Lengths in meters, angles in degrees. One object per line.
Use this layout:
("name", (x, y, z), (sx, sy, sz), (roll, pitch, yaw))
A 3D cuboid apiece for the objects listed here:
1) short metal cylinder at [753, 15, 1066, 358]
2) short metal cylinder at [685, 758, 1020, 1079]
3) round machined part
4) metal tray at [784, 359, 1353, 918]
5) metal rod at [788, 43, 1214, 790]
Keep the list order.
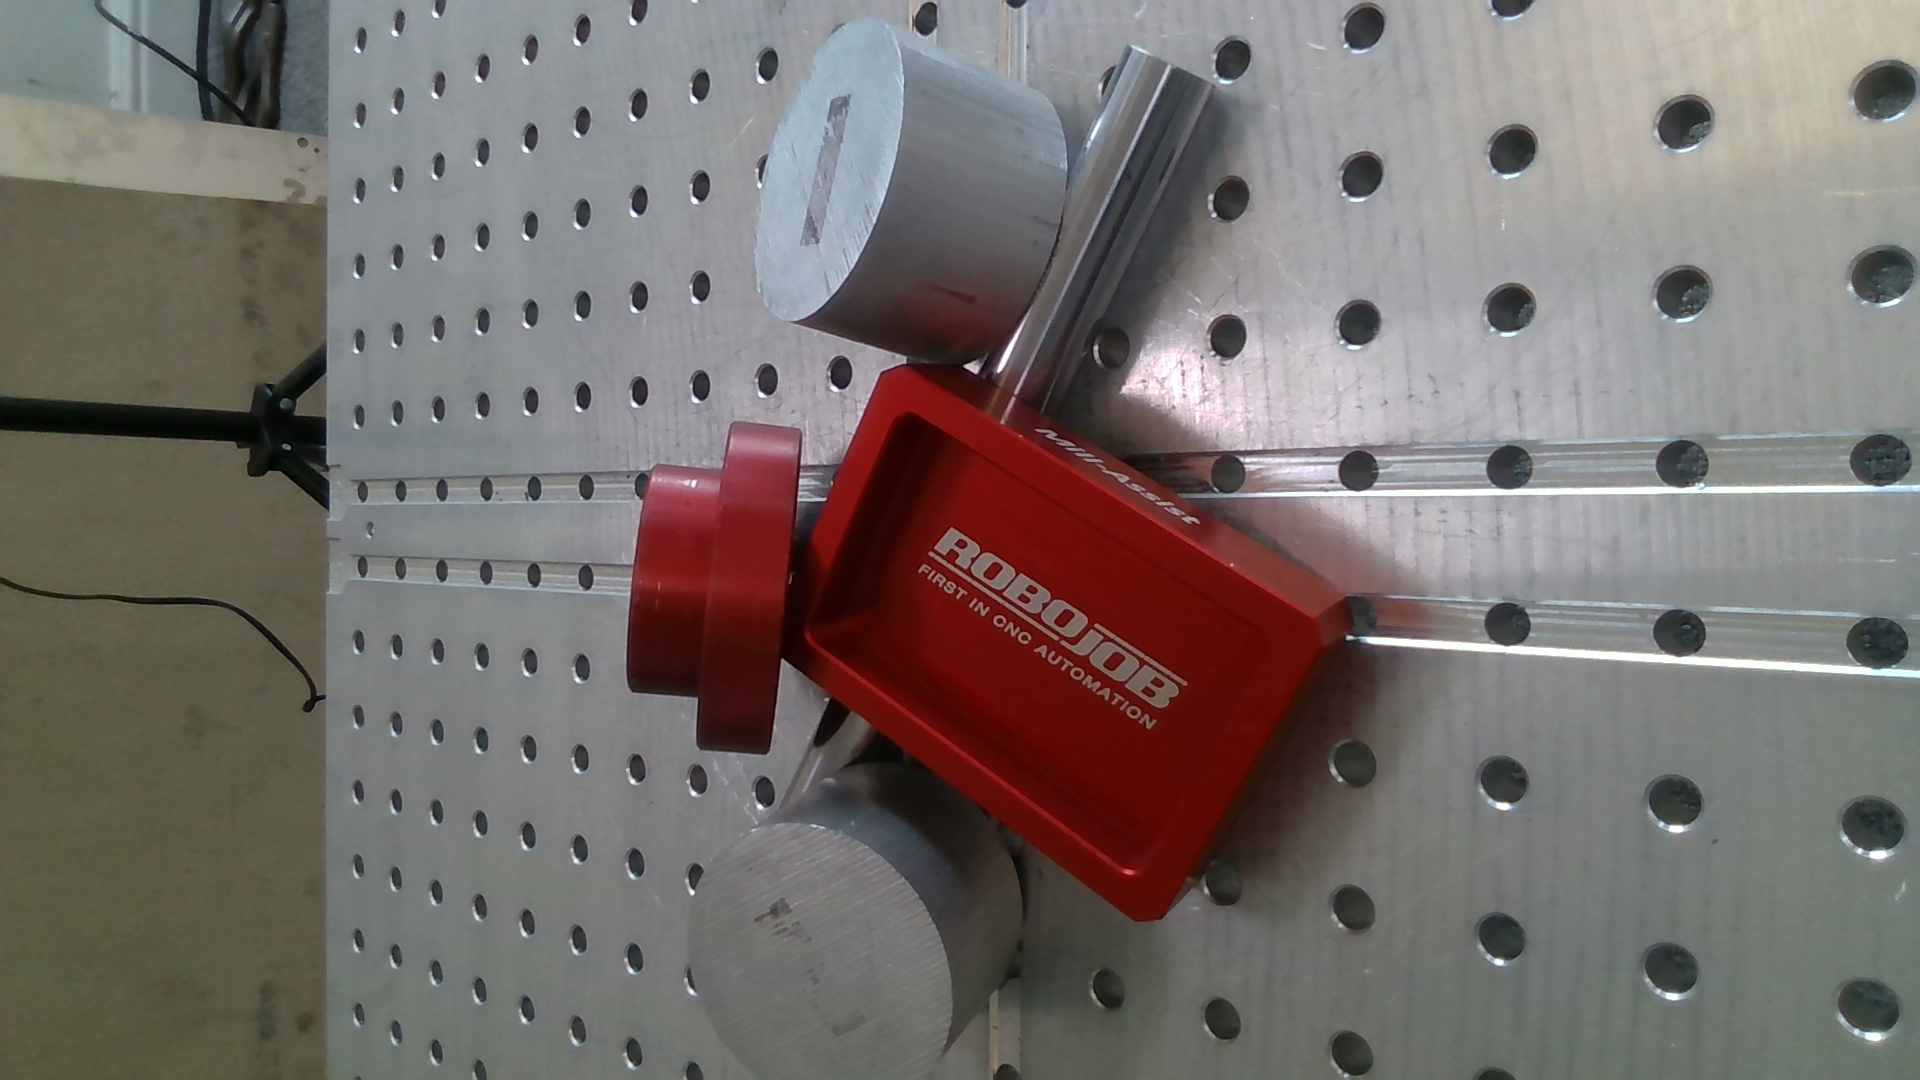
("short metal cylinder", (-0.016, -0.093, 0.375), (0.080, 0.050, 0.080), (-23, 61, 52))
("short metal cylinder", (-0.029, 0.108, 0.388), (0.080, 0.050, 0.080), (5, 103, 22))
("round machined part", (-0.074, 0.012, 0.410), (0.098, 0.042, 0.098), (-176, 92, -83))
("metal tray", (0.021, 0.022, 0.354), (0.130, 0.030, 0.090), (33, 112, 21))
("metal rod", (-0.007, 0.007, 0.400), (0.025, 0.025, 0.301), (39, 114, 33))
